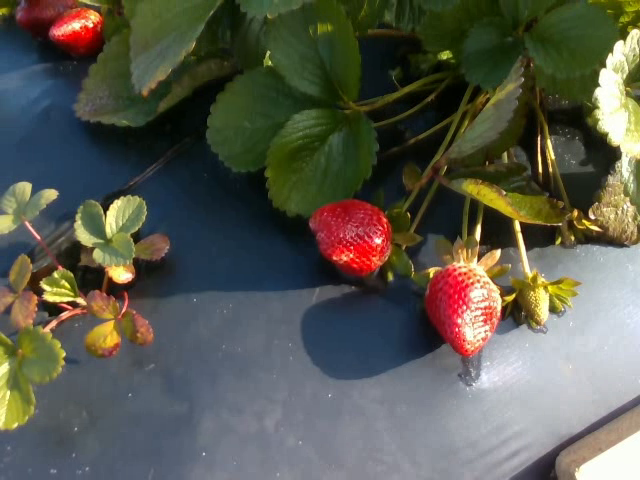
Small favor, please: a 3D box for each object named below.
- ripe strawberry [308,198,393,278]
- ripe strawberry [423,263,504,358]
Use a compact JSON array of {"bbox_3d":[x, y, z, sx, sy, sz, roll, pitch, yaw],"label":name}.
[{"bbox_3d":[0.017,-0.002,0.326,0.054,0.048,0.039,-5,-5,-35],"label":"ripe strawberry"},{"bbox_3d":[0.071,0.034,0.297,0.043,0.039,0.053,21,41,-8],"label":"ripe strawberry"}]
